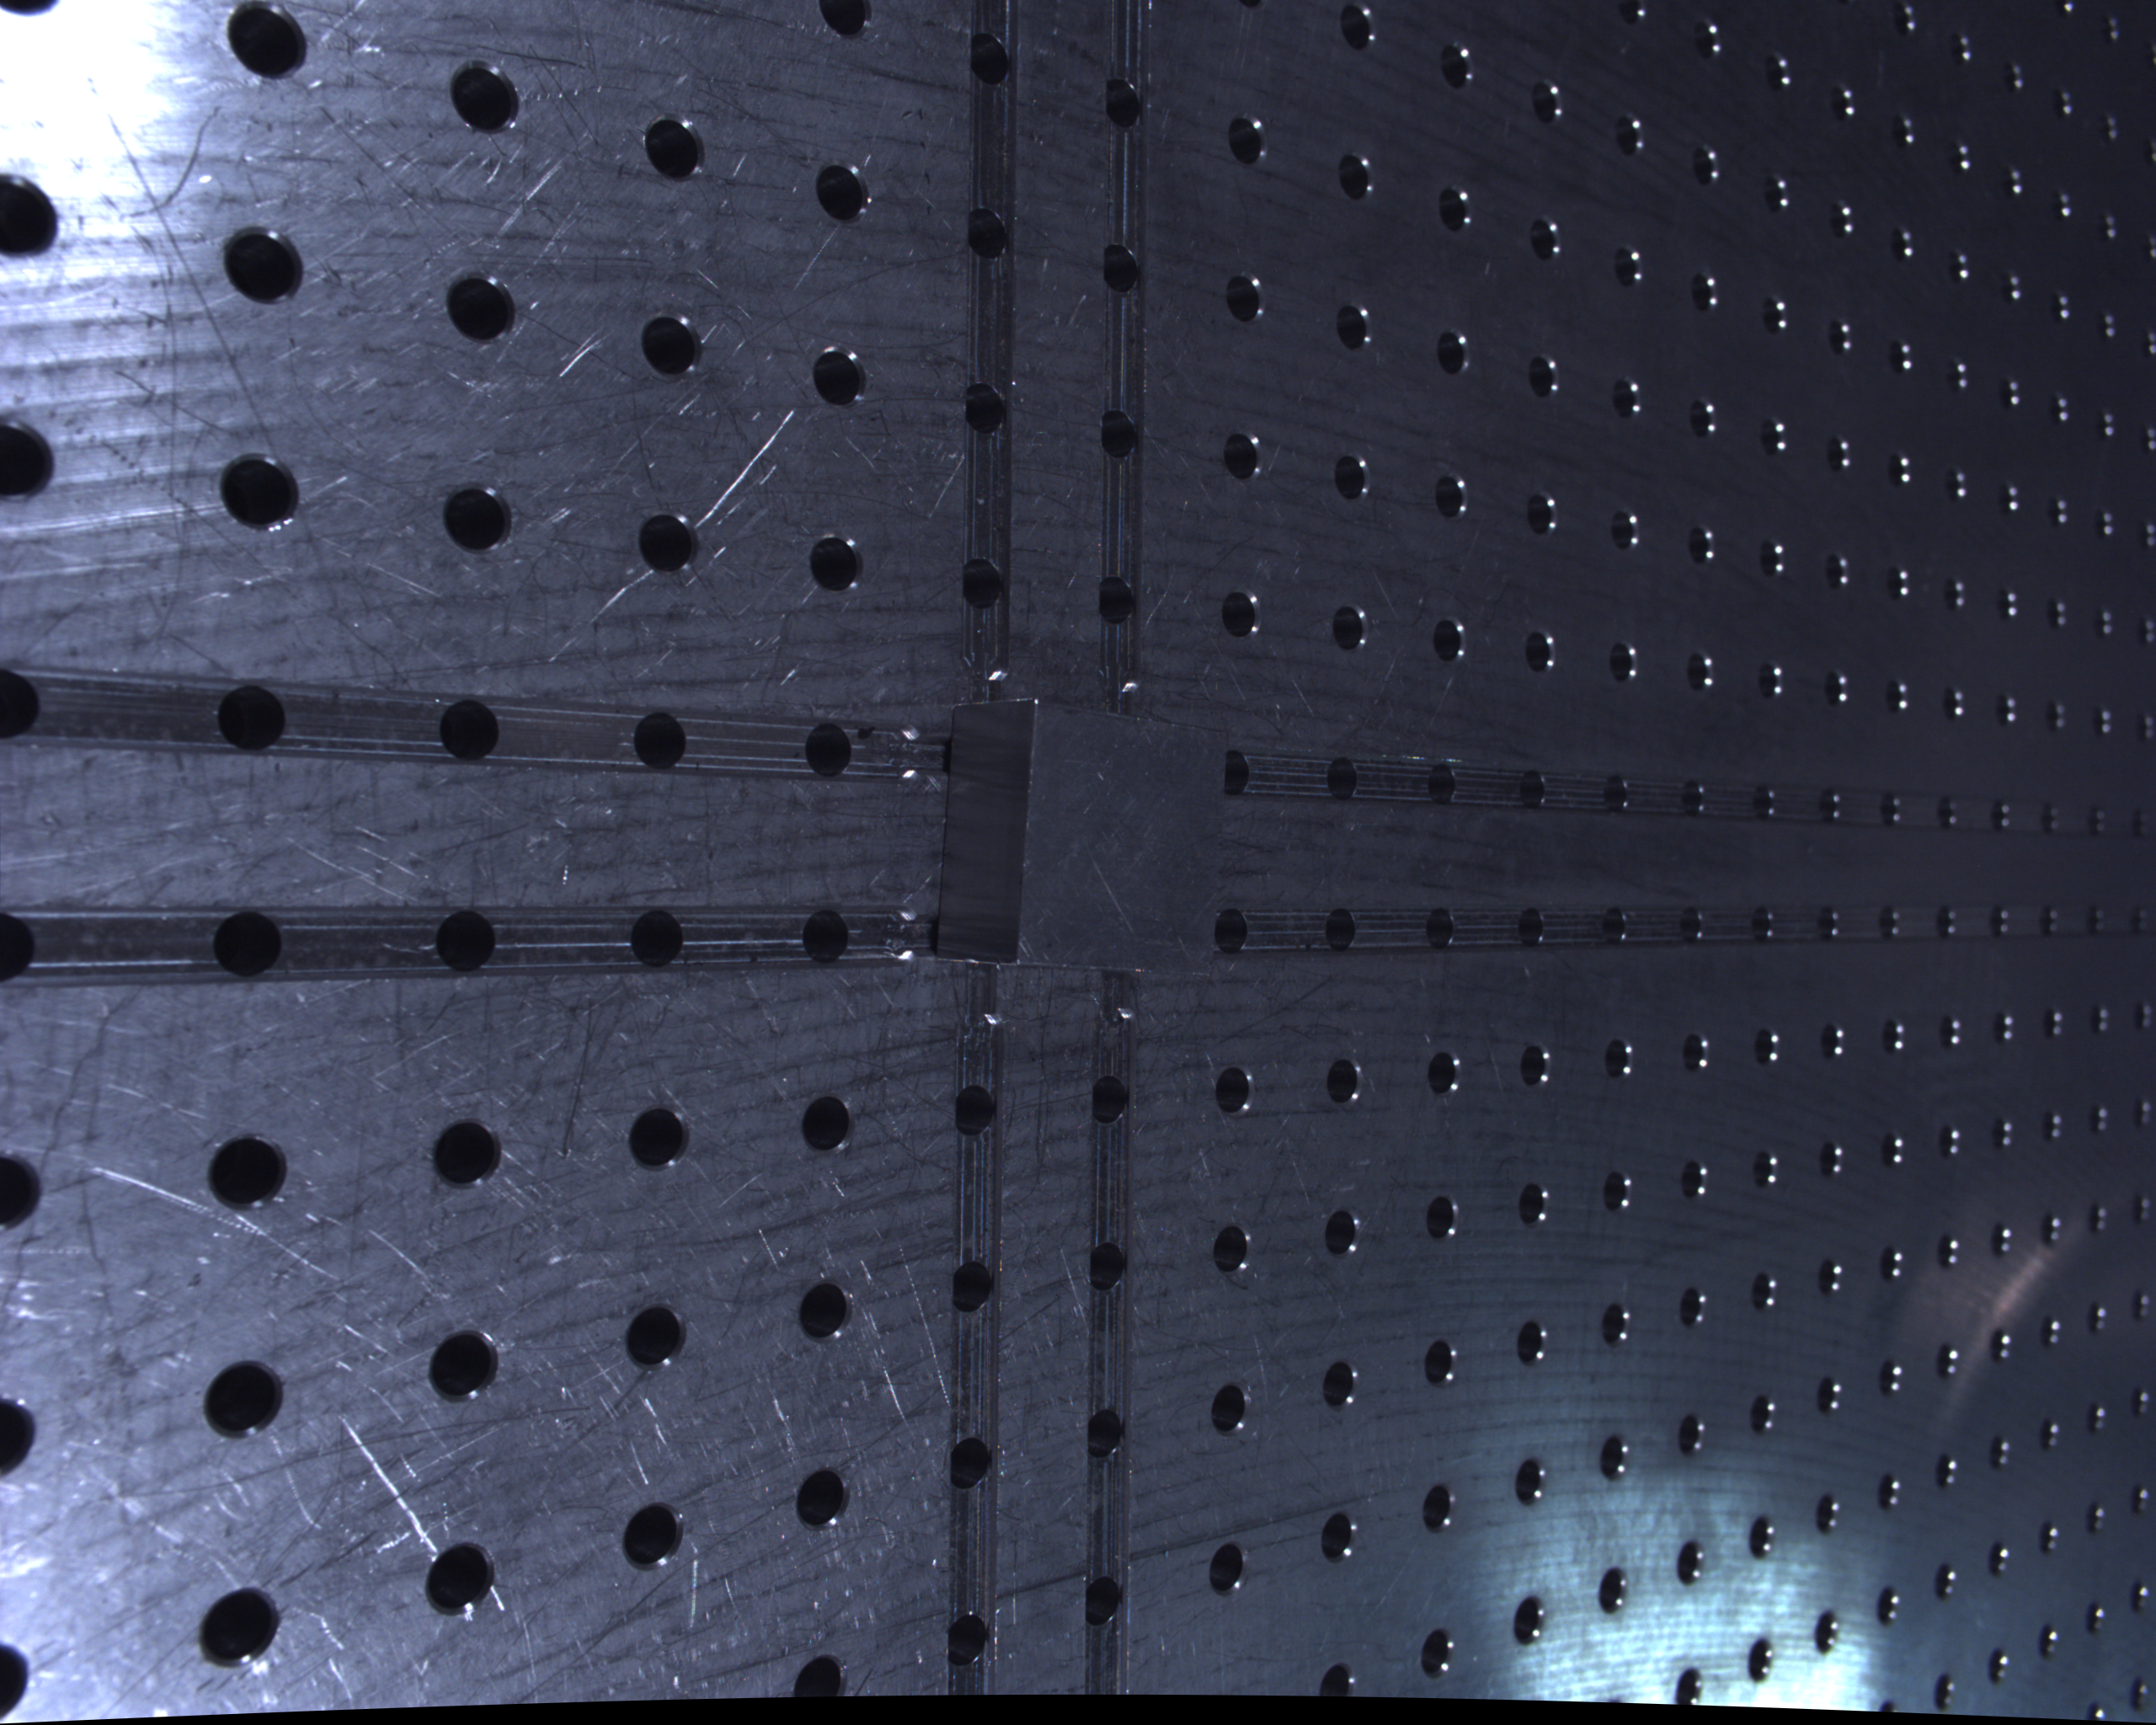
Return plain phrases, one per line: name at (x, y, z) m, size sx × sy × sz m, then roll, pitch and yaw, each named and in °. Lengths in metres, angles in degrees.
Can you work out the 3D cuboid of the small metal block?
small metal block at (0.002, -0.004, 0.412) m, size 0.050 × 0.025 × 0.050 m, roll 6°, pitch 86°, yaw -40°
